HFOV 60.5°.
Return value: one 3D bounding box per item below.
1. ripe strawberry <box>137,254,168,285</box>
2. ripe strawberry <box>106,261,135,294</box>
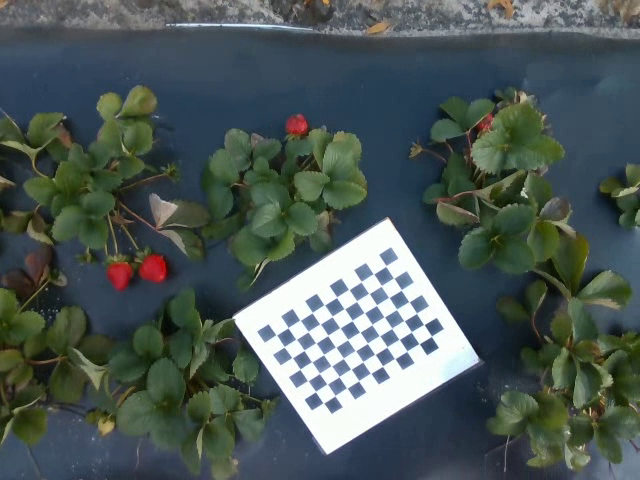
[{"bbox_3d":[-0.304,0.058,0.989,0.064,0.058,0.051,38,2,29],"label":"ripe strawberry"},{"bbox_3d":[-0.365,0.068,0.995,0.048,0.056,0.041,-18,-19,1],"label":"ripe strawberry"}]
